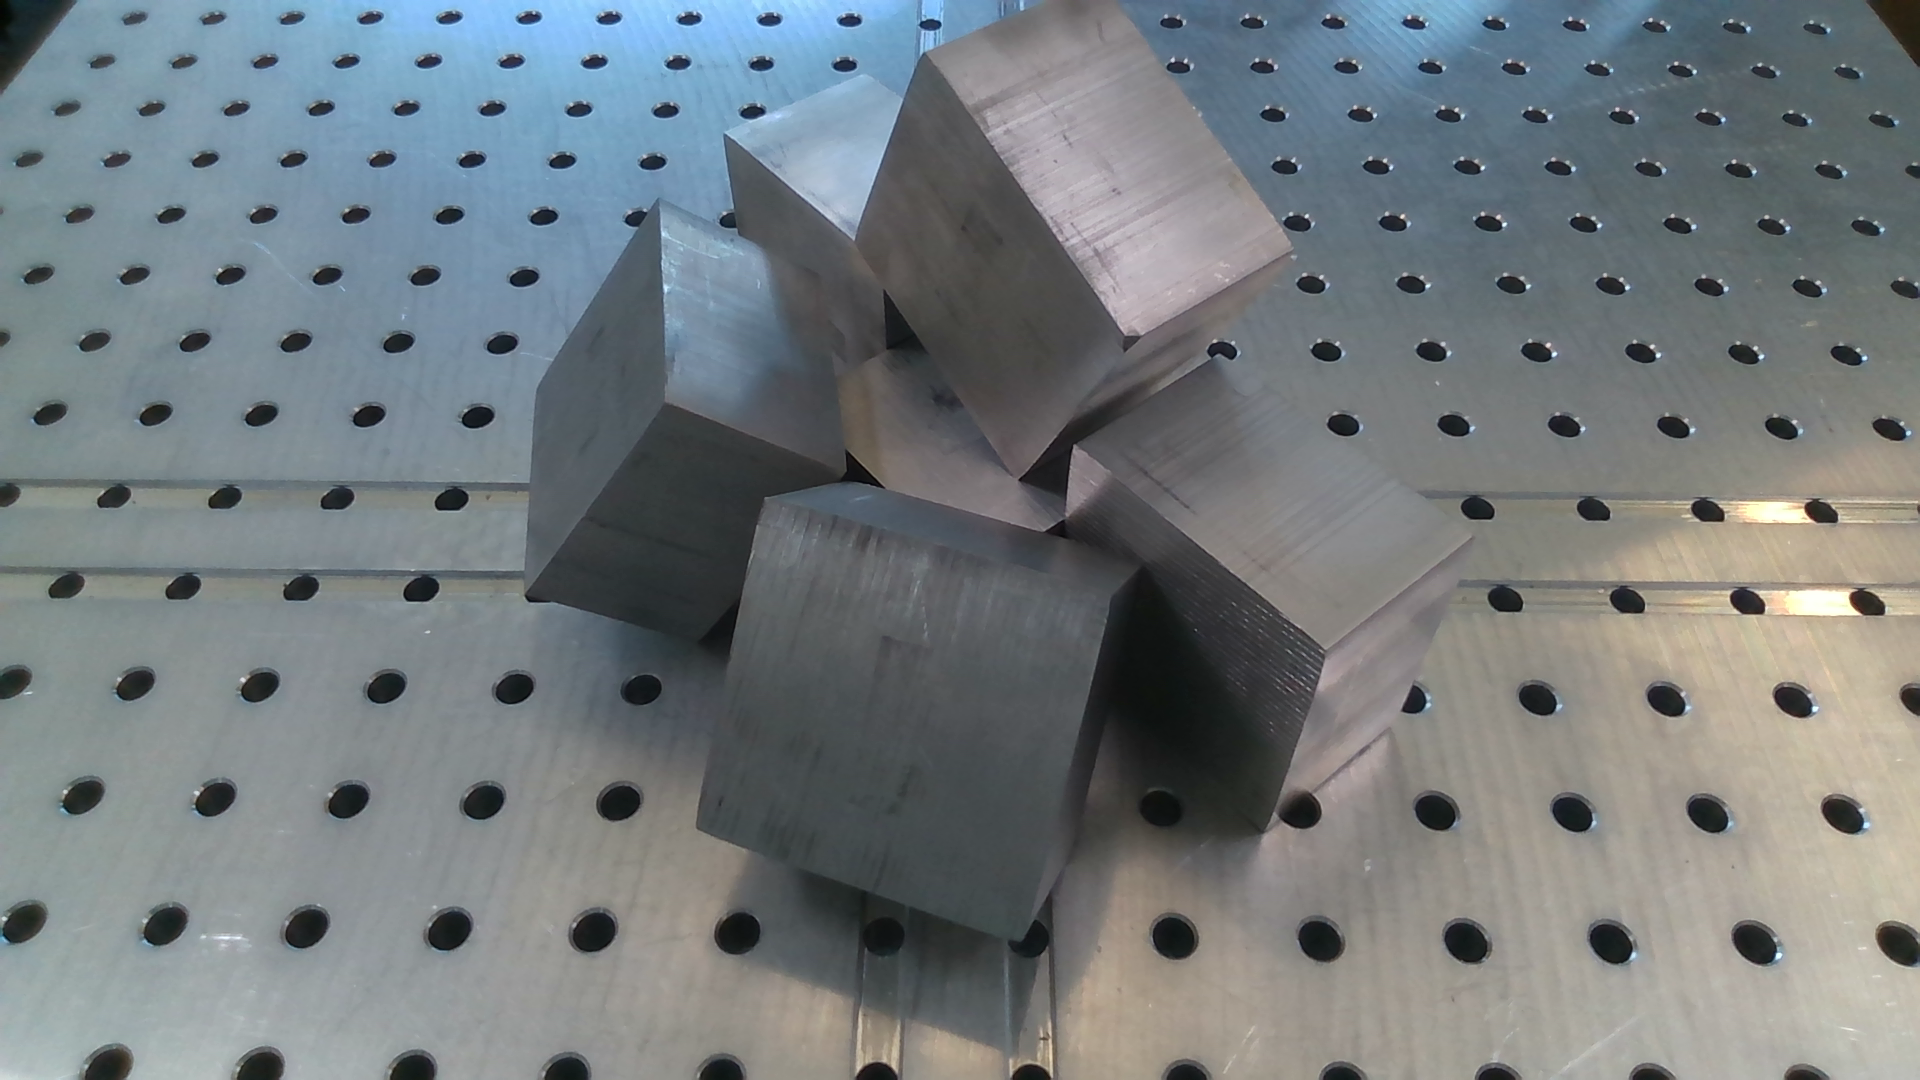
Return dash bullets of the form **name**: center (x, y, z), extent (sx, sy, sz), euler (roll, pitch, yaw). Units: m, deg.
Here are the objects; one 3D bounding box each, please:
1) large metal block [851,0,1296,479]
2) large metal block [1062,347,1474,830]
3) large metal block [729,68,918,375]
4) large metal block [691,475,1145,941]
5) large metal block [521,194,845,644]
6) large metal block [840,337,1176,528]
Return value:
- **large metal block**: center (0.023, -0.074, 0.340), extent (0.050, 0.080, 0.080), euler (-31, 82, -23)
- **large metal block**: center (0.071, 0.013, 0.350), extent (0.050, 0.080, 0.080), euler (-33, 57, -24)
- **large metal block**: center (-0.024, -0.086, 0.431), extent (0.050, 0.080, 0.080), euler (-32, 57, -23)
- **large metal block**: center (-0.009, 0.035, 0.323), extent (0.080, 0.080, 0.050), euler (16, 11, 13)
- **large metal block**: center (-0.078, -0.032, 0.378), extent (0.050, 0.080, 0.080), euler (20, 41, -32)
- **large metal block**: center (0.009, -0.018, 0.397), extent (0.080, 0.050, 0.080), euler (-32, 57, -24)
